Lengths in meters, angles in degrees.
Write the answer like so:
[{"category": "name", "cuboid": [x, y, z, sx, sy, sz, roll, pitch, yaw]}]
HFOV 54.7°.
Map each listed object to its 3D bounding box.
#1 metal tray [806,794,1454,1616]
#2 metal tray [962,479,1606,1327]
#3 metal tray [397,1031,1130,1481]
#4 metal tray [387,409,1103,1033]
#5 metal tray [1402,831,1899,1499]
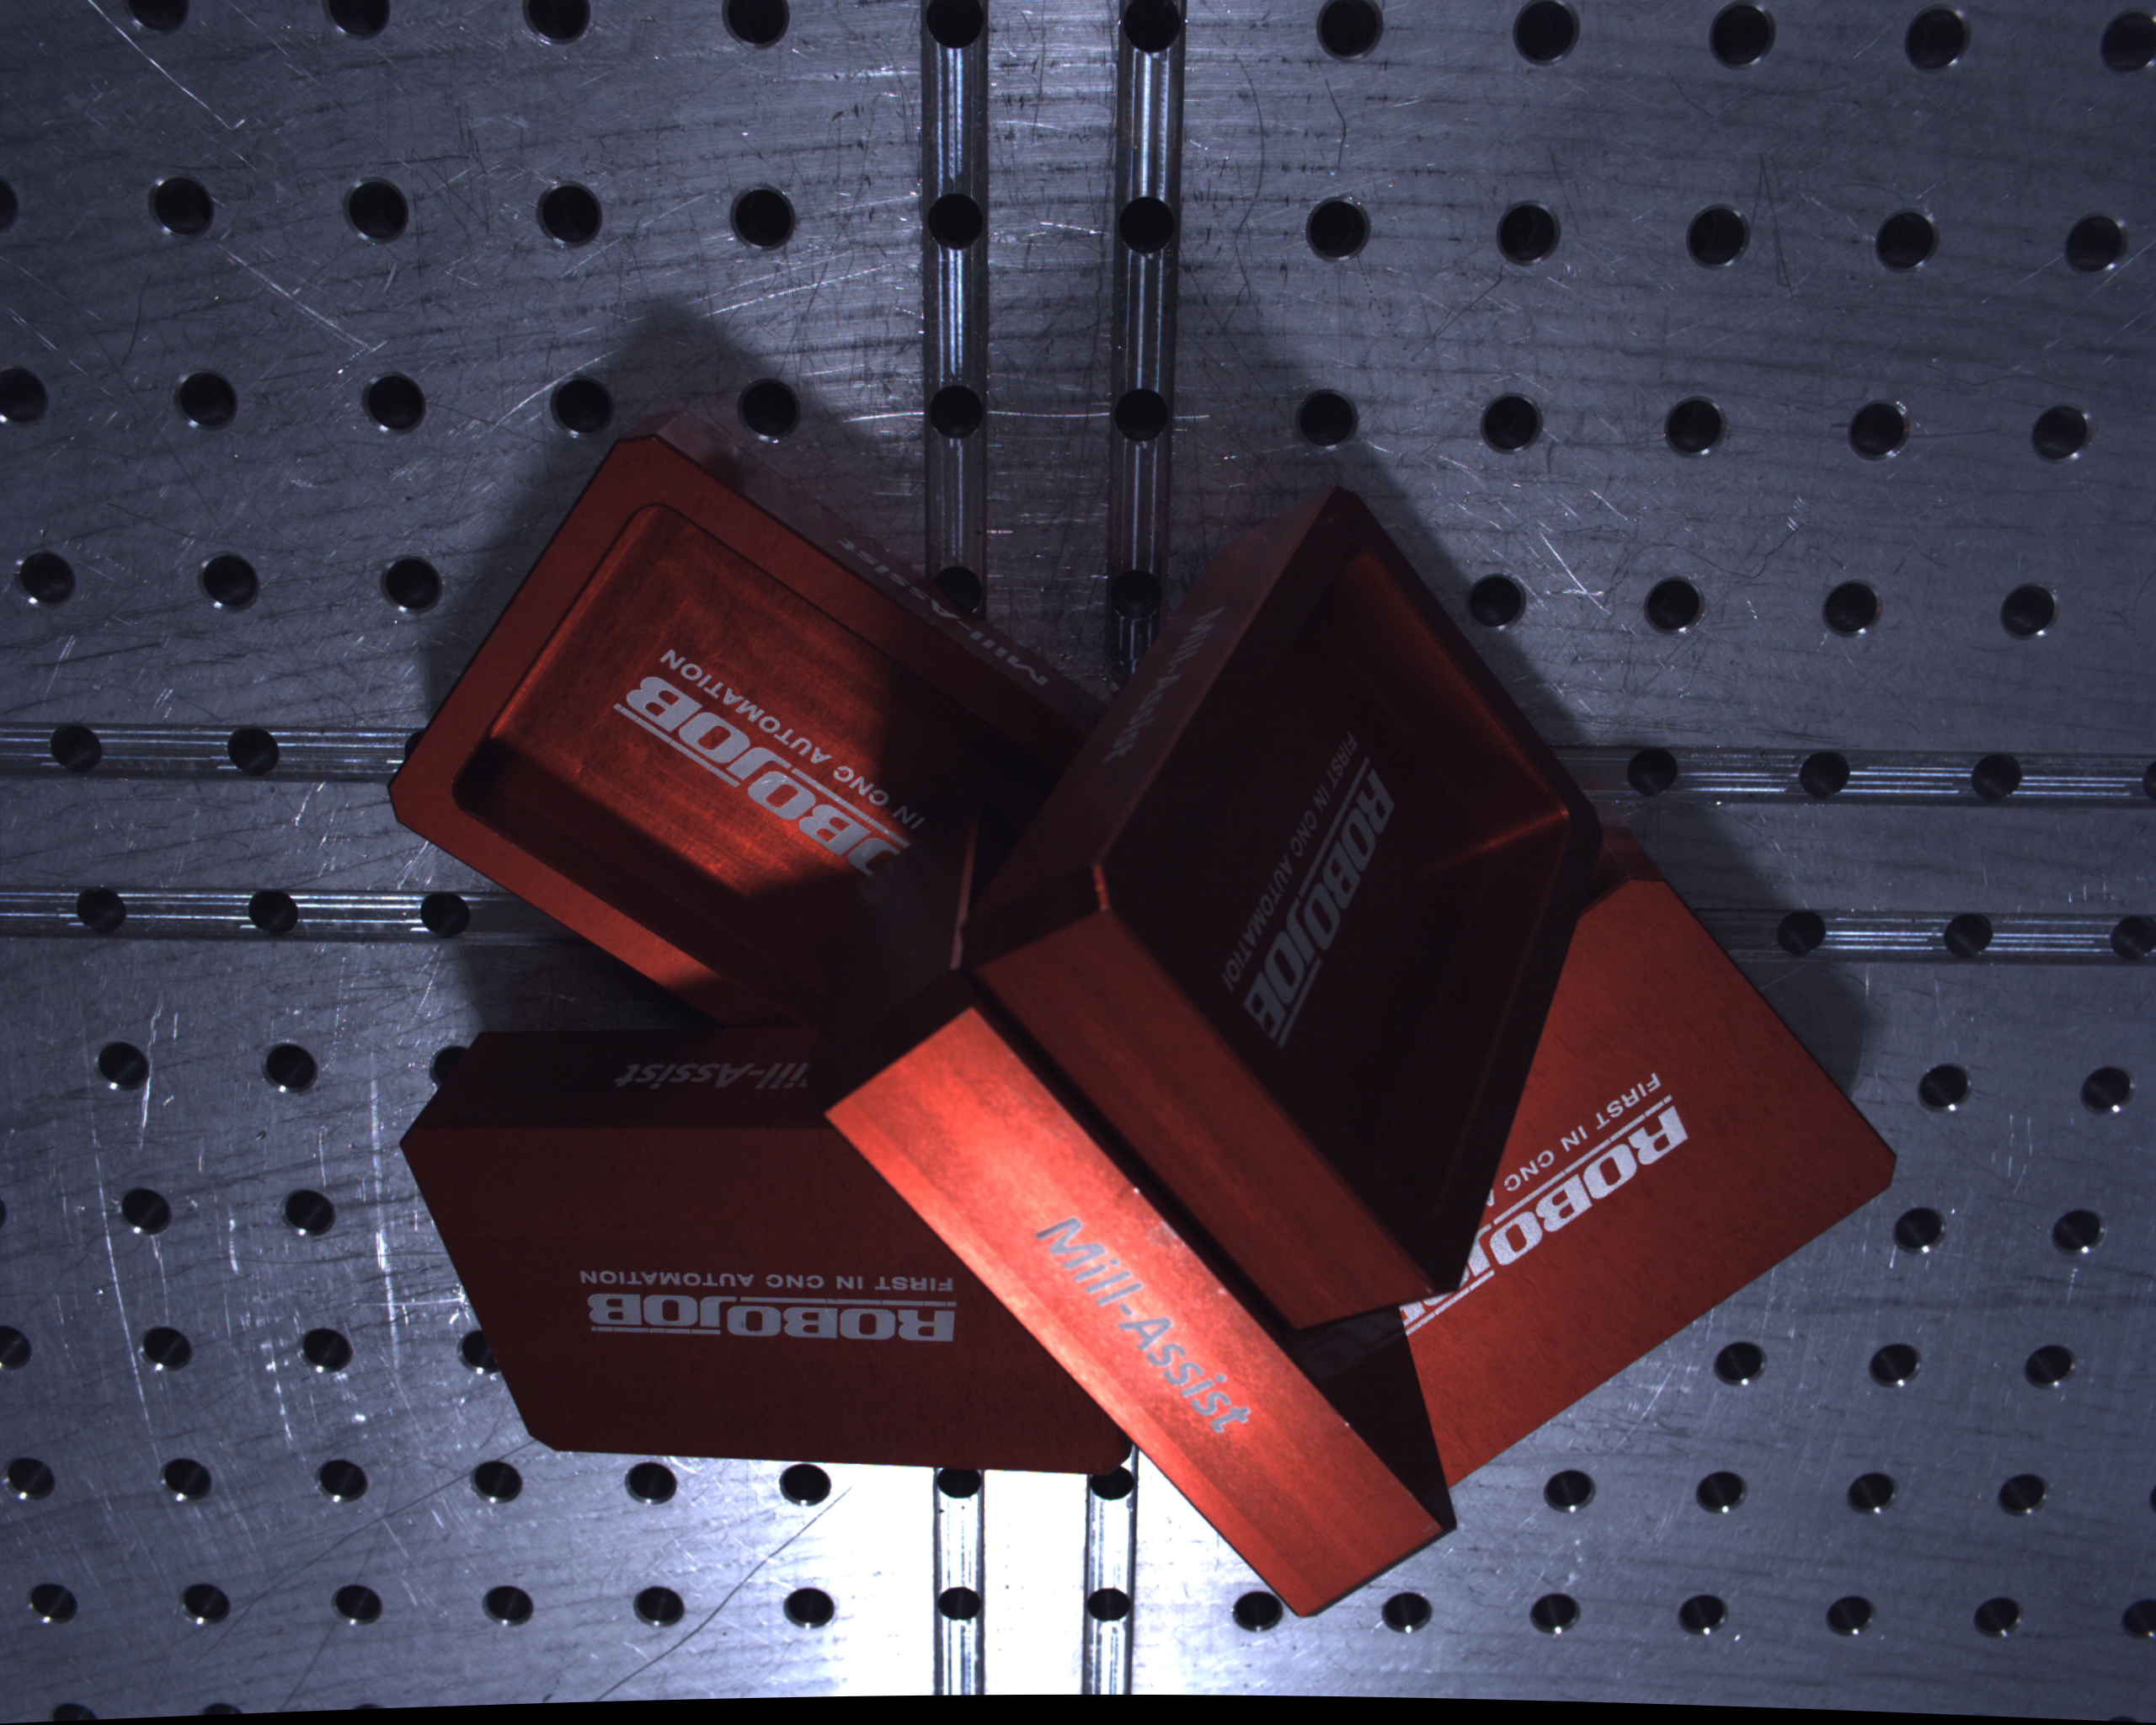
[{"category": "metal tray", "cuboid": [0.010, 0.057, 0.367, 0.030, 0.090, 0.130, -37, 107, 12]}, {"category": "metal tray", "cuboid": [0.043, 0.002, 0.359, 0.030, 0.130, 0.090, -27, 111, 39]}, {"category": "metal tray", "cuboid": [-0.057, 0.078, 0.413, 0.130, 0.030, 0.089, -2, 122, 16]}, {"category": "metal tray", "cuboid": [-0.052, -0.014, 0.405, 0.130, 0.030, 0.090, 34, 106, -12]}, {"category": "metal tray", "cuboid": [0.089, 0.066, 0.435, 0.130, 0.030, 0.090, -39, 106, 13]}]
